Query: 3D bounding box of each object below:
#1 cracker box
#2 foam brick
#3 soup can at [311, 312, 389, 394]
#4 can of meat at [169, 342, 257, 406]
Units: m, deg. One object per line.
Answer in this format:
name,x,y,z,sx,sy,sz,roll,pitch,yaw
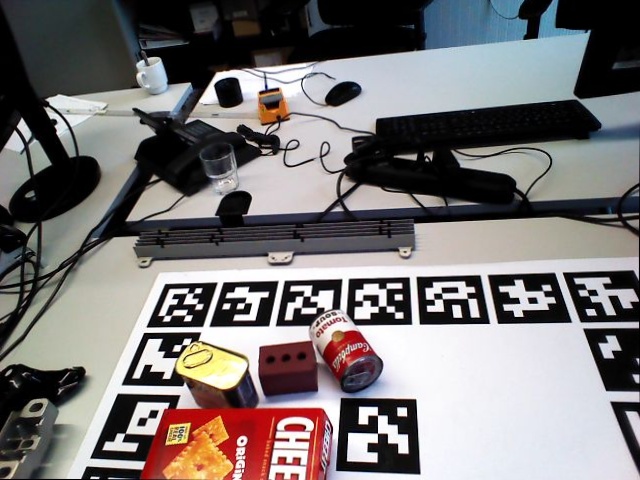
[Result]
cracker box,-0.108,0.281,0.592,0.214,0.072,0.163,-10,41,10
foam brick,-0.043,0.180,0.724,0.078,0.051,0.052,-10,43,4
soup can,0.040,0.156,0.726,0.068,0.068,0.102,-29,39,-16
can of meat,-0.143,0.193,0.707,0.102,0.084,0.057,7,46,21
